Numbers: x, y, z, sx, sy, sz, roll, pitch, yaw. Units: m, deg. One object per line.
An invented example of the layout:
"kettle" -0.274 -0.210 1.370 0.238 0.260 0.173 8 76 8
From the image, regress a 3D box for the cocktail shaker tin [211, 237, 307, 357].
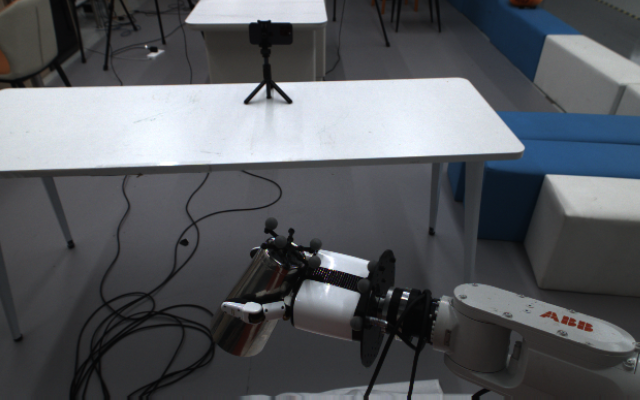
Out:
"cocktail shaker tin" -0.085 0.133 0.703 0.093 0.170 0.093 25 29 -15
